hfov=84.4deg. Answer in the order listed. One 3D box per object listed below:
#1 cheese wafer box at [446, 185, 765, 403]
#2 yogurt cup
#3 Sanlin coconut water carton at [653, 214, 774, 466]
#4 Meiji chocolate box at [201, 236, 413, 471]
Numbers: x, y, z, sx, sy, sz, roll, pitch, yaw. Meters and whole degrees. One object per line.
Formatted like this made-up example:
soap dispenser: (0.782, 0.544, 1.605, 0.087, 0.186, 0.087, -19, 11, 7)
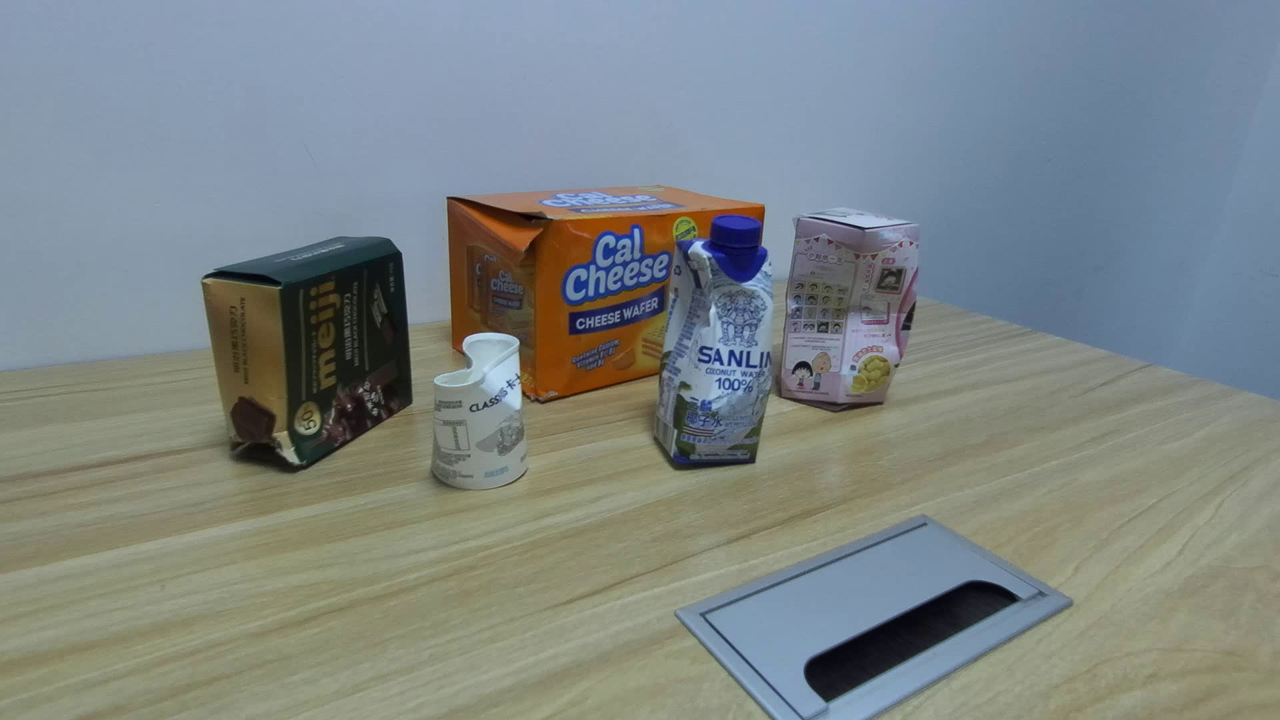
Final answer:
cheese wafer box: (-0.027, -0.070, 0.586, 0.228, 0.137, 0.149, -12, 25, -36)
yogurt cup: (-0.091, 0.029, 0.396, 0.054, 0.071, 0.075, -7, 23, -23)
Sanlin coconut water carton: (0.048, -0.013, 0.427, 0.057, 0.144, 0.068, 4, 11, -18)
Meiji chocolate box: (-0.196, -0.010, 0.431, 0.058, 0.116, 0.123, 9, 20, 15)
